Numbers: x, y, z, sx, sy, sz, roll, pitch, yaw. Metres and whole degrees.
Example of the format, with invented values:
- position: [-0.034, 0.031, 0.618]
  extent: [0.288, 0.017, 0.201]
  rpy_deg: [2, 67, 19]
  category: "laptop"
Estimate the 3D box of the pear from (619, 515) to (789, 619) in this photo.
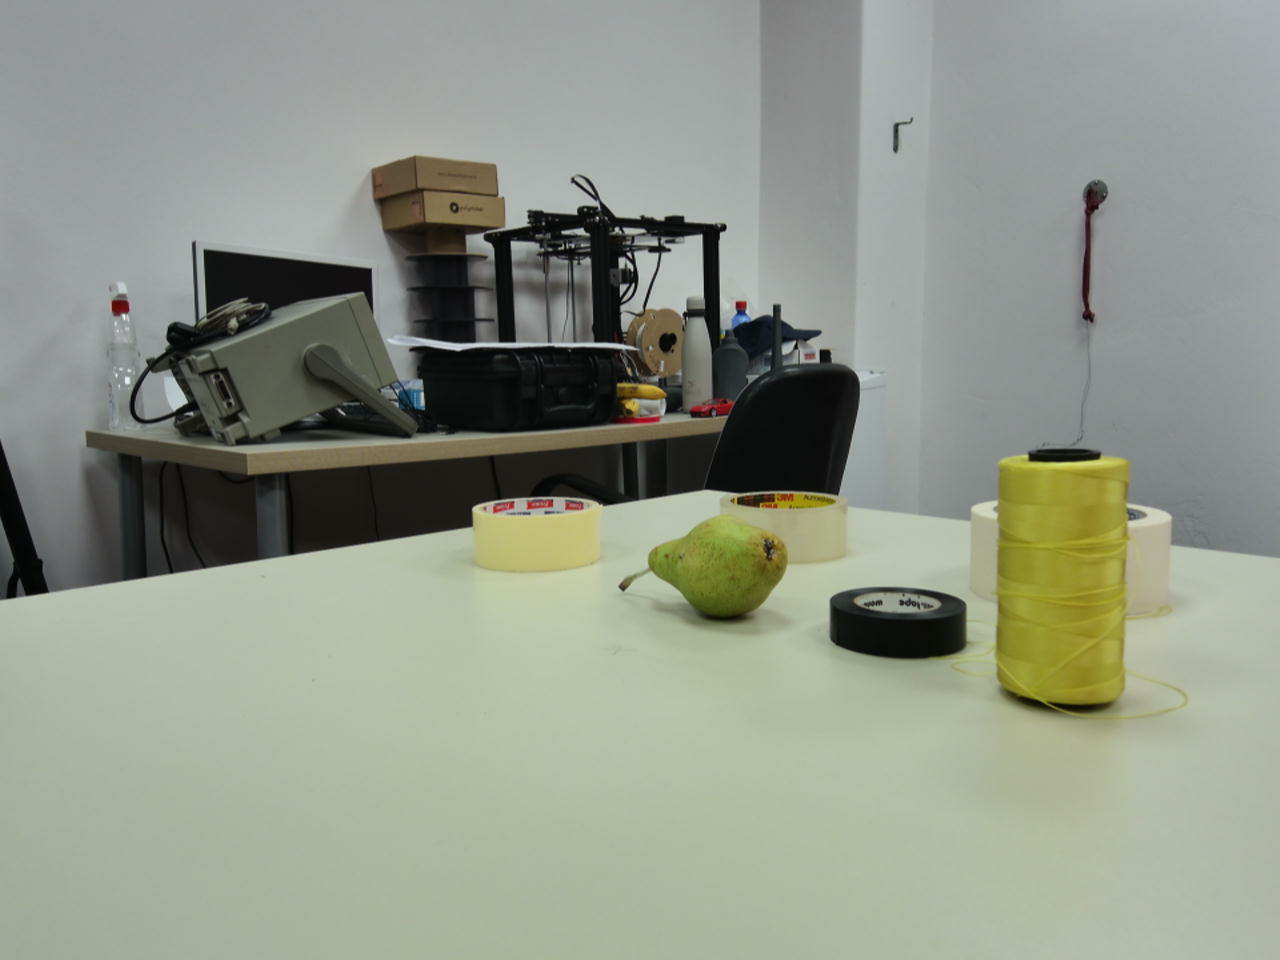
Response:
- position: [0.037, 0.047, 0.575]
  extent: [0.056, 0.056, 0.111]
  rpy_deg: [-2, 6, -27]
  category: "pear"
